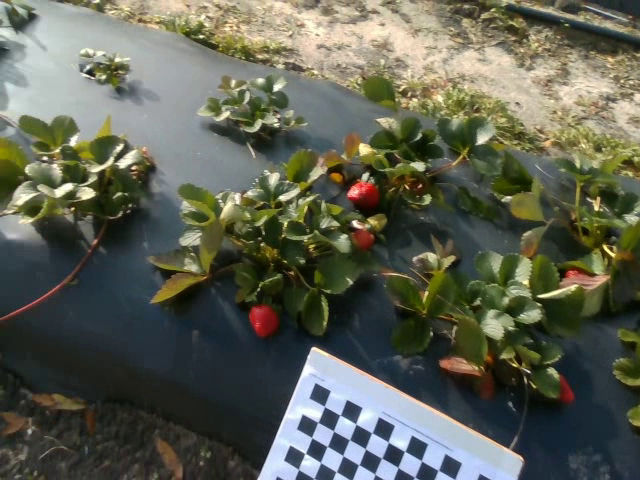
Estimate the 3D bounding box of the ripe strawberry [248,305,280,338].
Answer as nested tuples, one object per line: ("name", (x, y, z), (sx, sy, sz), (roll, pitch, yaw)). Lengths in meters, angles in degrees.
("ripe strawberry", (-0.055, 0.101, 0.737), (0.041, 0.041, 0.047), (-4, 31, 14))
